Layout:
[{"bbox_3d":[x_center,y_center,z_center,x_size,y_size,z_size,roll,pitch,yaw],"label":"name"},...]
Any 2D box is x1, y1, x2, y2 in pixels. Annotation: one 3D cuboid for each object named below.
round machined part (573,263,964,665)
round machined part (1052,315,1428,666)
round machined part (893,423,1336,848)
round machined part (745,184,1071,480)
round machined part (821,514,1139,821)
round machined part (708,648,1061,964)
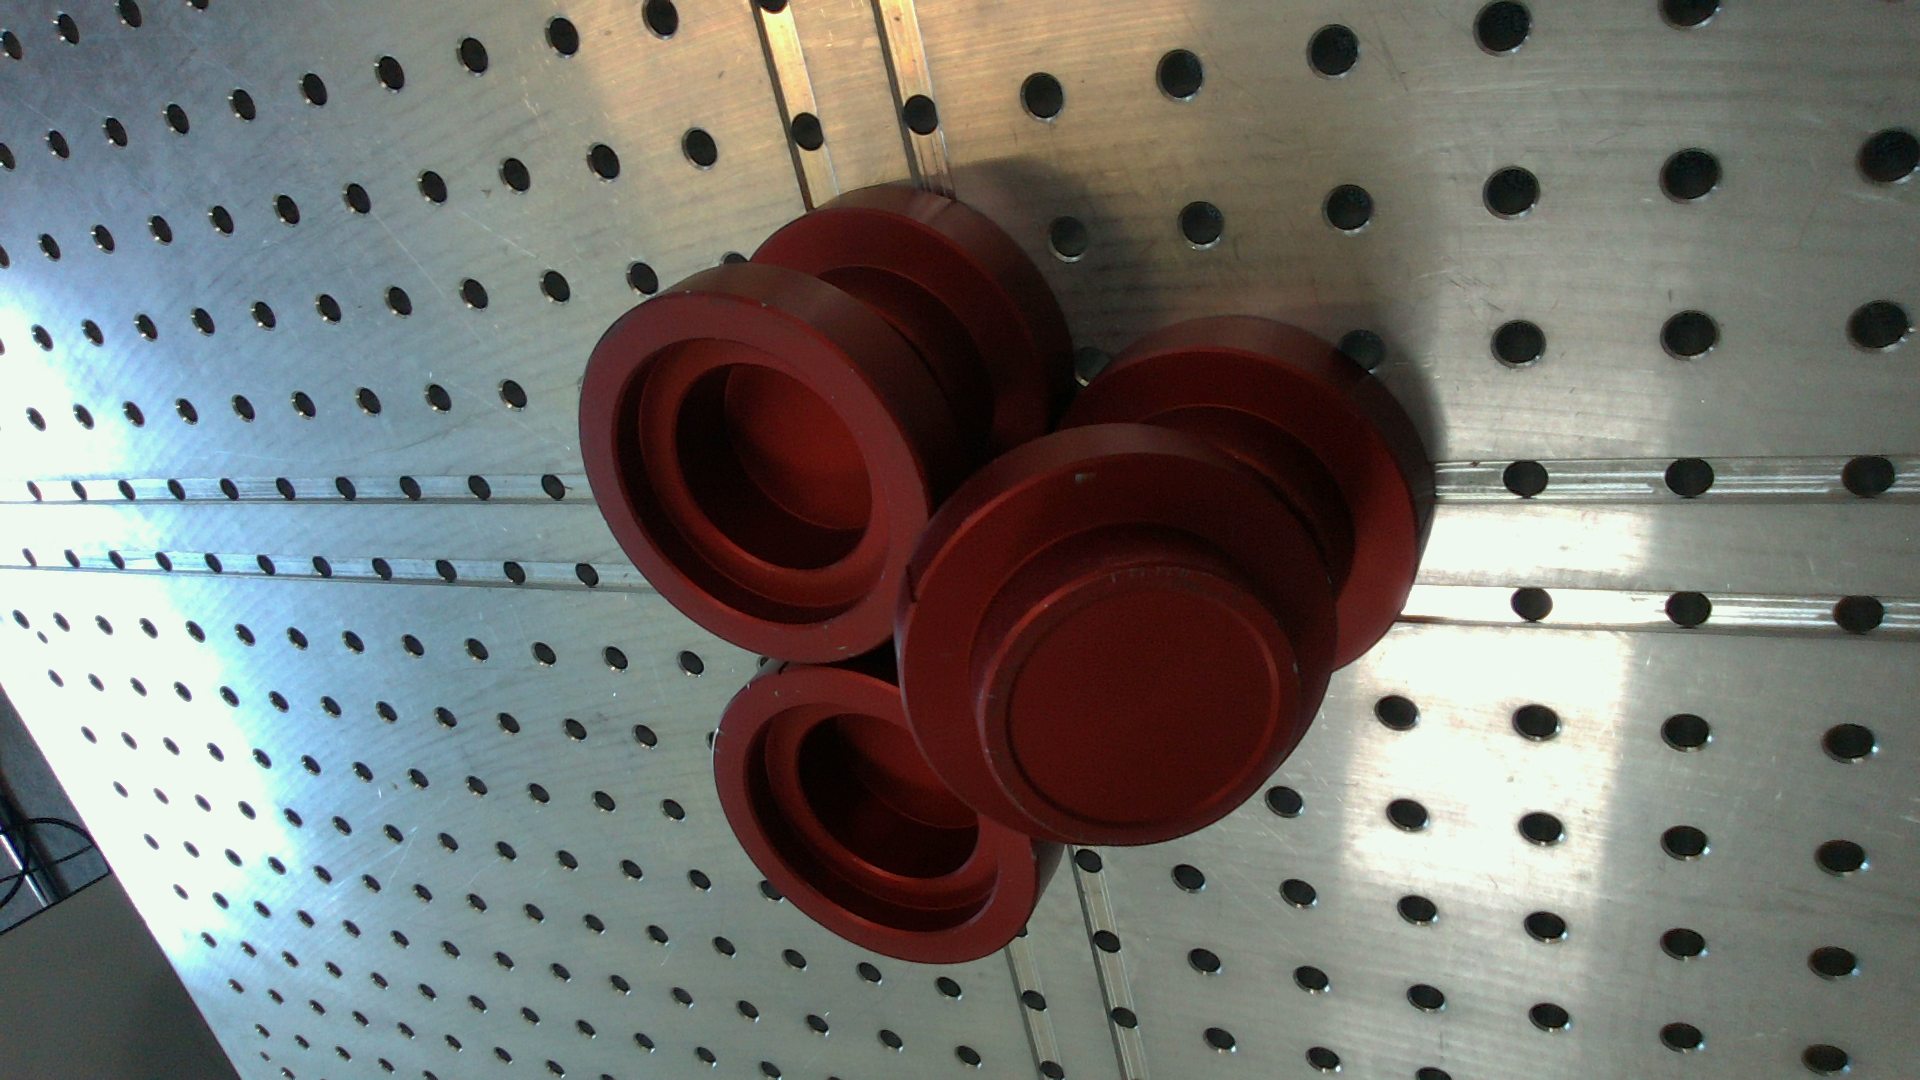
[{"bbox_3d":[-0.043,-0.021,0.339,0.098,0.042,0.098,13,124,21],"label":"round machined part"},{"bbox_3d":[0.065,-0.004,0.348,0.098,0.042,0.098,13,124,21],"label":"round machined part"},{"bbox_3d":[0.035,0.027,0.301,0.098,0.042,0.098,-3,114,-6],"label":"round machined part"},{"bbox_3d":[-0.023,-0.042,0.372,0.098,0.042,0.098,13,124,21],"label":"round machined part"},{"bbox_3d":[0.001,0.045,0.413,0.098,0.042,0.098,13,124,21],"label":"round machined part"},{"bbox_3d":[-0.017,0.065,0.379,0.098,0.042,0.098,13,124,21],"label":"round machined part"}]
